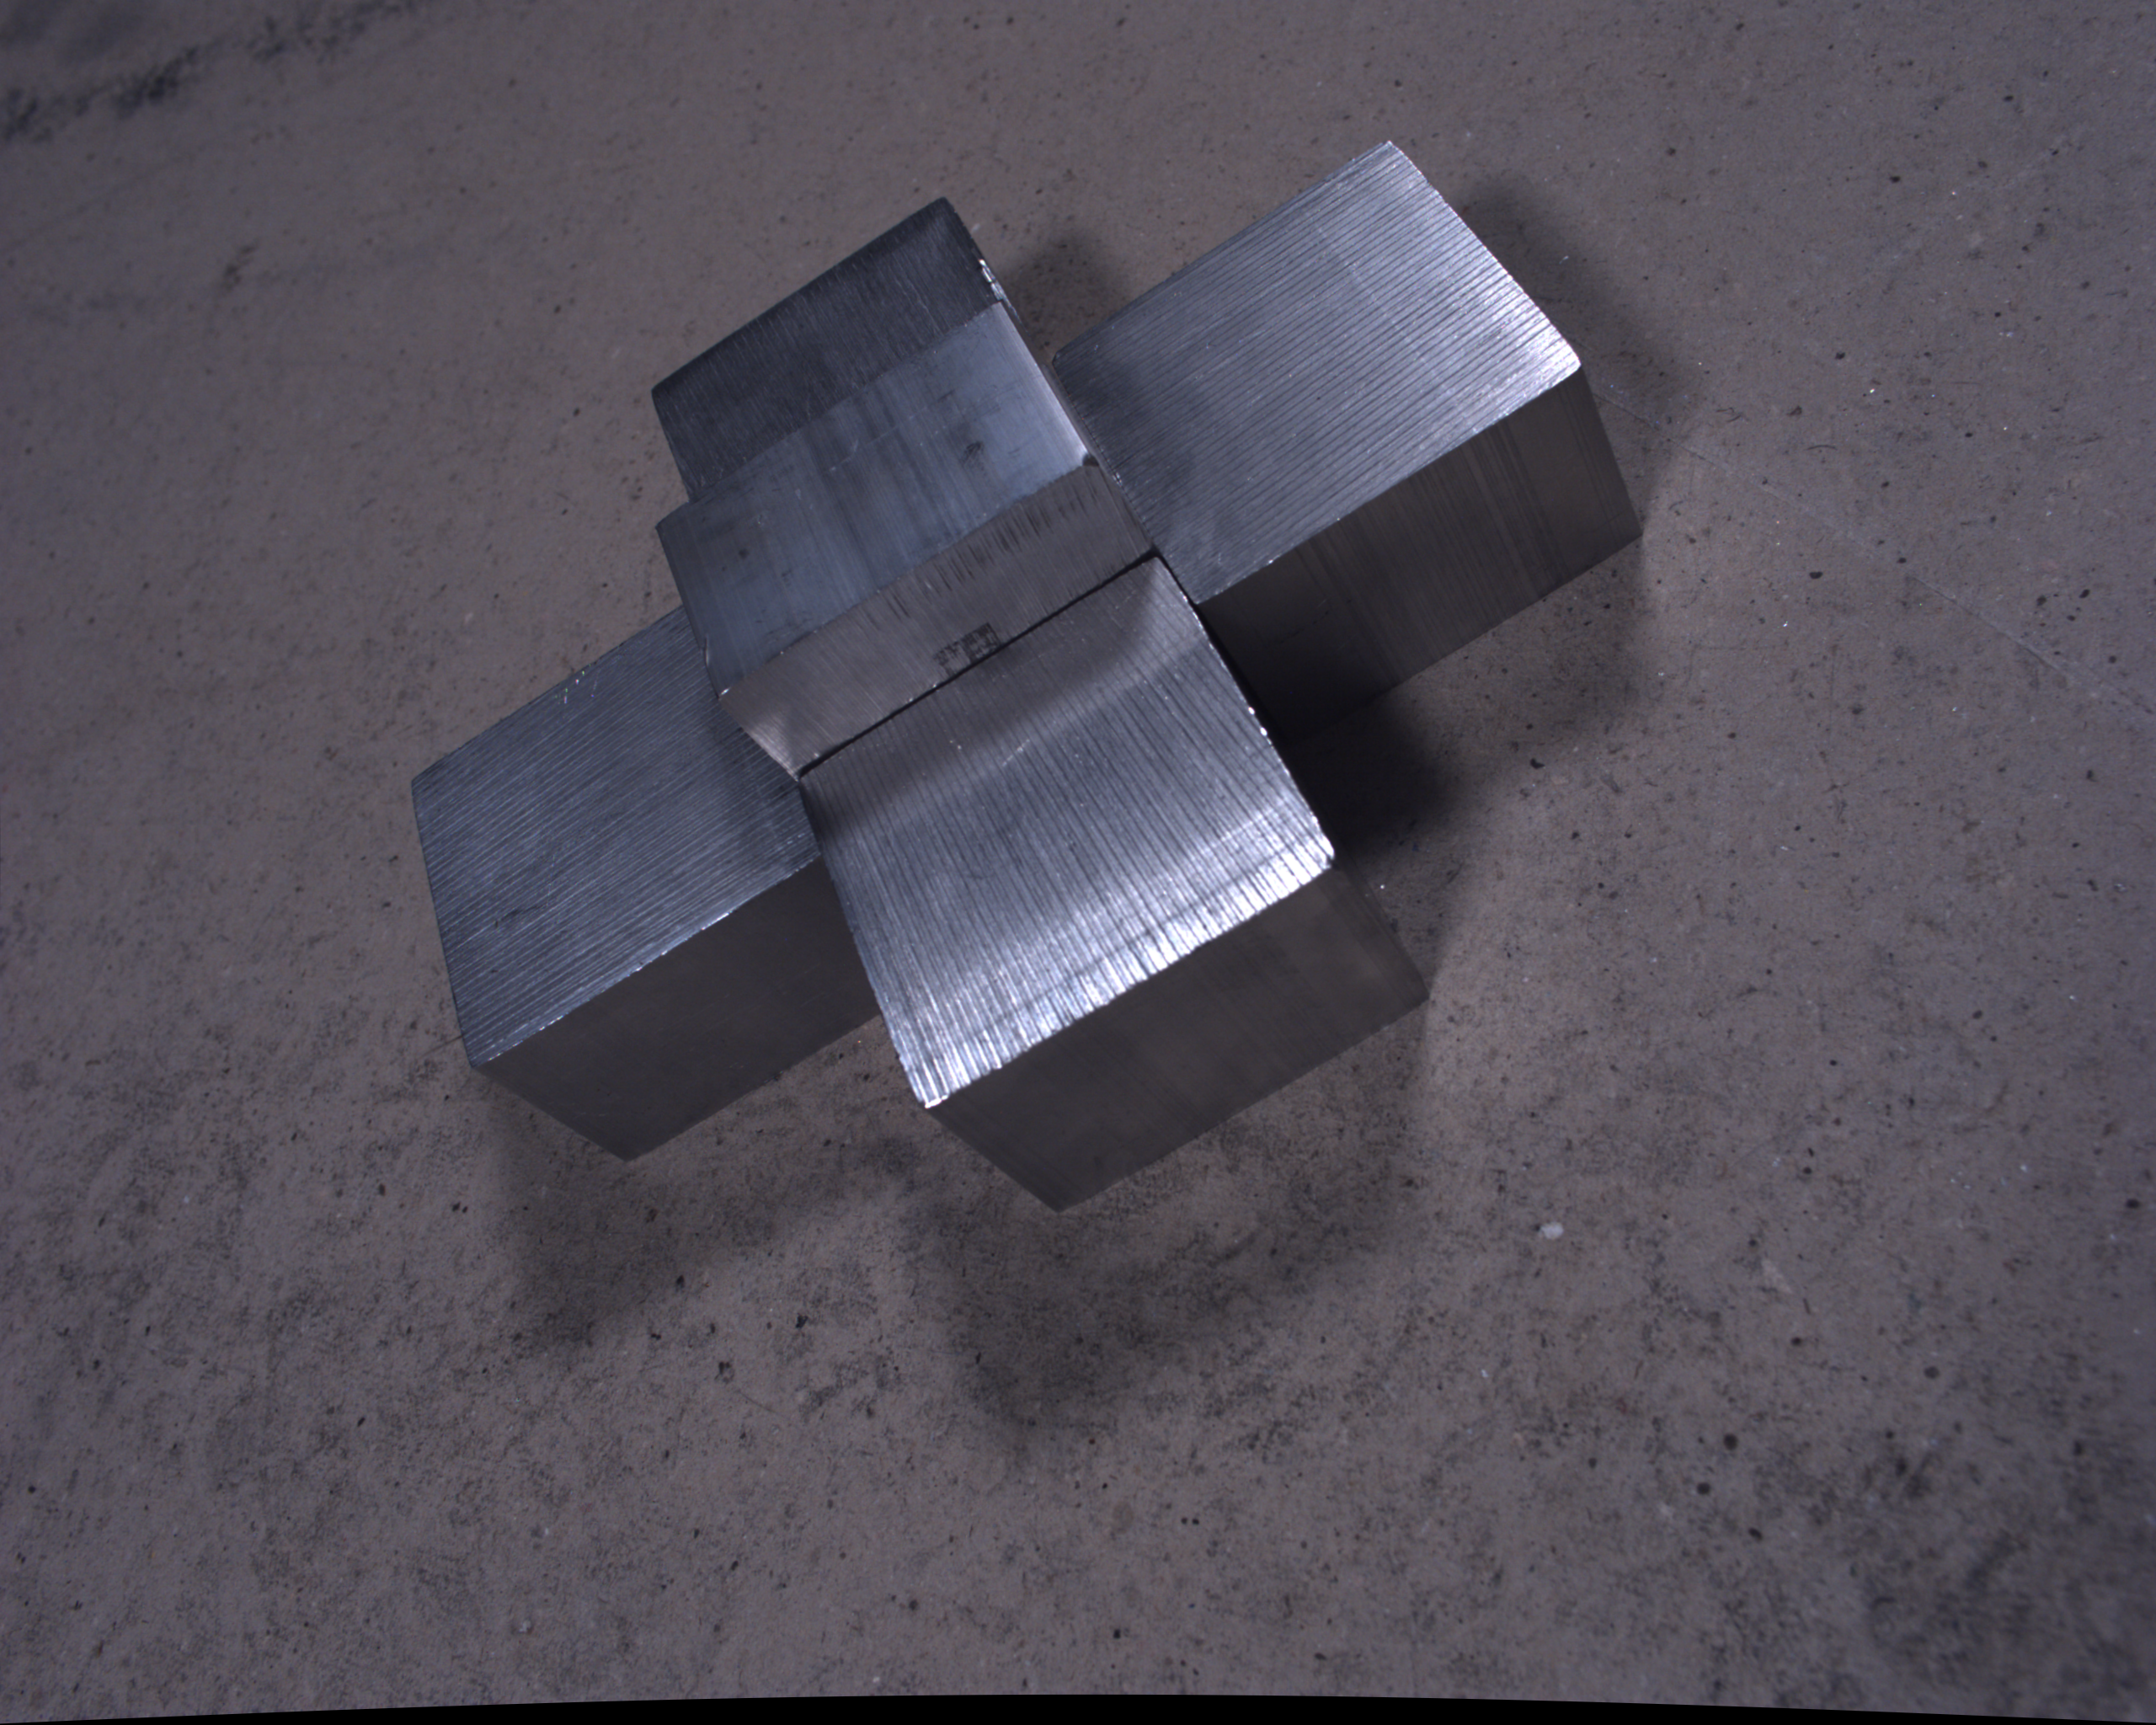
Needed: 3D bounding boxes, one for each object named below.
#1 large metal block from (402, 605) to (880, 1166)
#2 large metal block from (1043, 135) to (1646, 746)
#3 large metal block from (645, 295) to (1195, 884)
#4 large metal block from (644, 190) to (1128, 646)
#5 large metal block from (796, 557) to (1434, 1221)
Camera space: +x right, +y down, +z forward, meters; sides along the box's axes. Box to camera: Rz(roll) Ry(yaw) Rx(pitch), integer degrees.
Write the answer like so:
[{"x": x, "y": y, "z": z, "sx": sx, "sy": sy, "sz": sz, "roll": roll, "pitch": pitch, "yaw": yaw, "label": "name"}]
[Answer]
[{"x": -0.084, "y": 0.002, "z": 0.430, "sx": 0.080, "sy": 0.050, "sz": 0.080, "roll": -32, "pitch": 52, "yaw": 7, "label": "large metal block"}, {"x": 0.051, "y": -0.083, "z": 0.411, "sx": 0.080, "sy": 0.050, "sz": 0.080, "roll": -32, "pitch": 52, "yaw": 7, "label": "large metal block"}, {"x": -0.024, "y": -0.049, "z": 0.411, "sx": 0.080, "sy": 0.080, "sz": 0.050, "roll": -32, "pitch": 52, "yaw": 7, "label": "large metal block"}, {"x": -0.040, "y": -0.088, "z": 0.462, "sx": 0.080, "sy": 0.050, "sz": 0.080, "roll": -32, "pitch": 52, "yaw": 7, "label": "large metal block"}, {"x": 0.005, "y": 0.005, "z": 0.381, "sx": 0.080, "sy": 0.050, "sz": 0.080, "roll": -32, "pitch": 52, "yaw": 7, "label": "large metal block"}]
